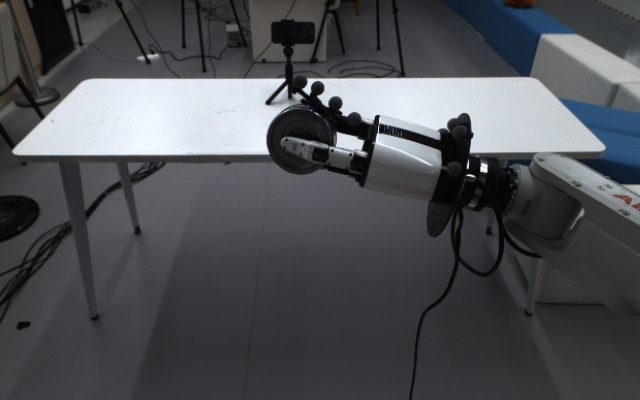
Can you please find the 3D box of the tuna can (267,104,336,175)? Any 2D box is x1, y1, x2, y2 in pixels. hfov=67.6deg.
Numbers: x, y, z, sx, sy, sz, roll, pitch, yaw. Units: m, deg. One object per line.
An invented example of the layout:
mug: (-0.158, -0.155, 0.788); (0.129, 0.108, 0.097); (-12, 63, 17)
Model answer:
tuna can: (-0.022, -0.077, 0.608); (0.085, 0.085, 0.034); (6, 19, 6)
